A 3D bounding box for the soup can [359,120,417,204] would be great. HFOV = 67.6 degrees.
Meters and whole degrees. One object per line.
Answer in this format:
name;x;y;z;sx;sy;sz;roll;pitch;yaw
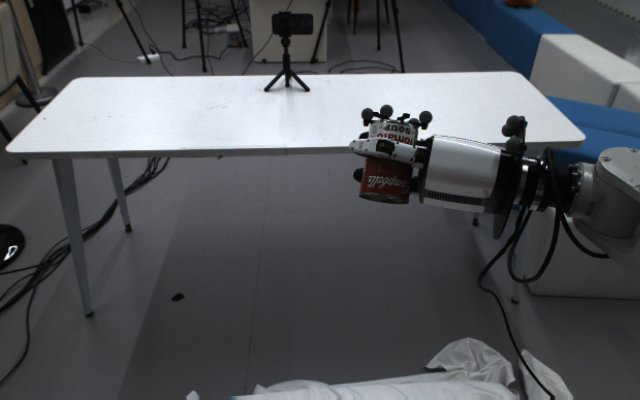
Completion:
soup can;0.094;-0.050;0.651;0.067;0.101;0.067;9;-6;1
